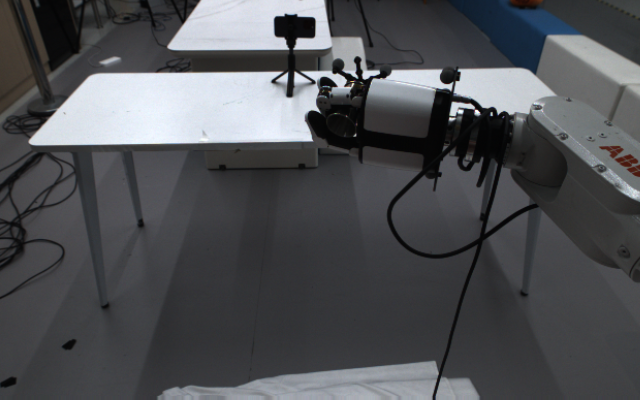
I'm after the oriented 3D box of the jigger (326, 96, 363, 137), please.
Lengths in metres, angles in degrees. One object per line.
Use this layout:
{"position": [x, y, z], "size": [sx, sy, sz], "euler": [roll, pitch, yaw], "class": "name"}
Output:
{"position": [0.039, -0.127, 0.658], "size": [0.043, 0.043, 0.071], "euler": [13, 58, 15], "class": "jigger"}
